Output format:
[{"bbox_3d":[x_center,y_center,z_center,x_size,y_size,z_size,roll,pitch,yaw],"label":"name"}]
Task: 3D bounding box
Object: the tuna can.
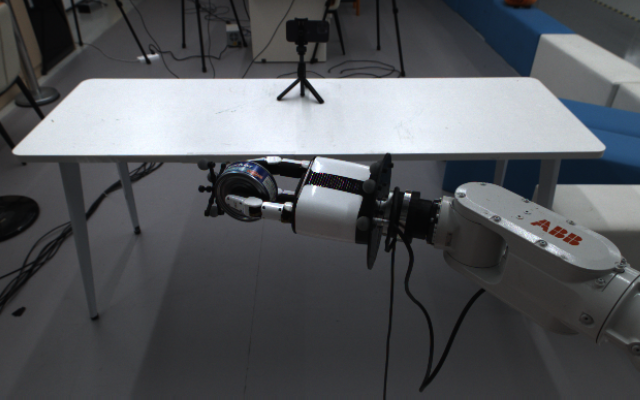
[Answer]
[{"bbox_3d":[-0.104,-0.013,0.690,0.085,0.085,0.034,9,34,10],"label":"tuna can"}]
